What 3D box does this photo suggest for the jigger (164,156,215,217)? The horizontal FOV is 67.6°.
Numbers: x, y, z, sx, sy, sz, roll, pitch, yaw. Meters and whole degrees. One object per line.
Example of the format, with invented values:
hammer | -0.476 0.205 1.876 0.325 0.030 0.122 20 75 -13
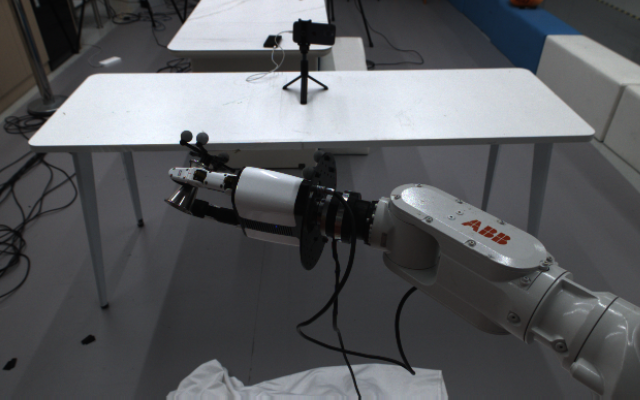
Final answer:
jigger | -0.185 -0.018 0.683 0.043 0.043 0.071 20 74 24
